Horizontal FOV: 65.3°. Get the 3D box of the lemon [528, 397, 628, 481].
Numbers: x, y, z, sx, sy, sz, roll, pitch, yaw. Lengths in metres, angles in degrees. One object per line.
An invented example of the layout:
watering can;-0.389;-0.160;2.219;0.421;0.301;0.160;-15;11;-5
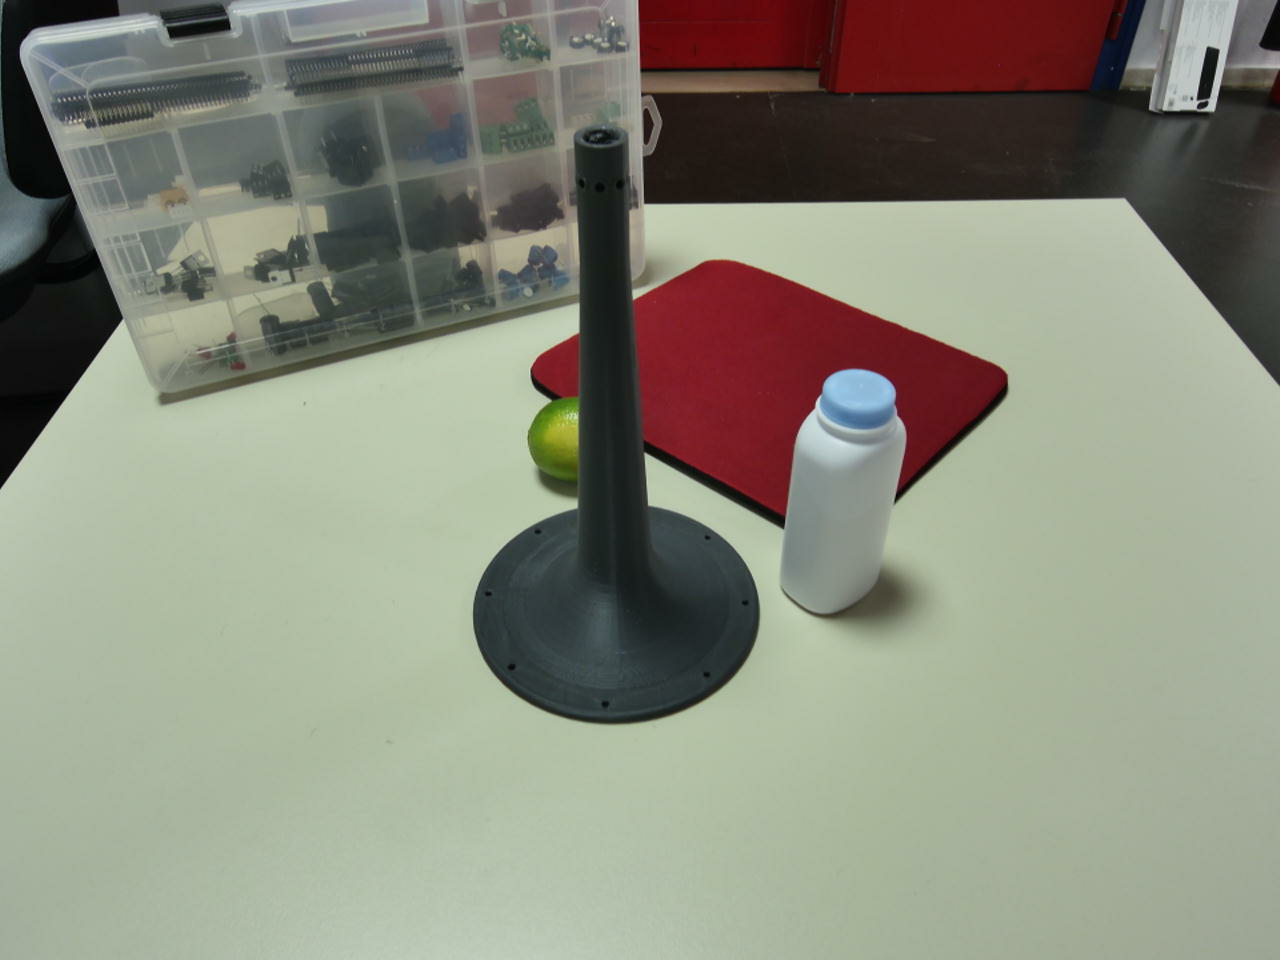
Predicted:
lemon;-0.039;-0.025;0.606;0.054;0.050;0.055;-26;47;-30
